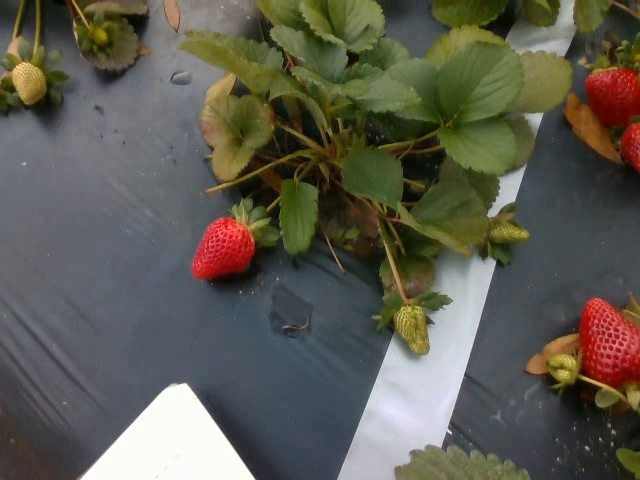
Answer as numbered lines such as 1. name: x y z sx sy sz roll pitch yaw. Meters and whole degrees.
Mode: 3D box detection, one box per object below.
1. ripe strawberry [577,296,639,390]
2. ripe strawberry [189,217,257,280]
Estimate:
1. ripe strawberry: 0.166 0.055 0.329 0.043 0.062 0.043 -30 -22 27
2. ripe strawberry: -0.056 0.006 0.339 0.046 0.040 0.036 -35 53 -27
